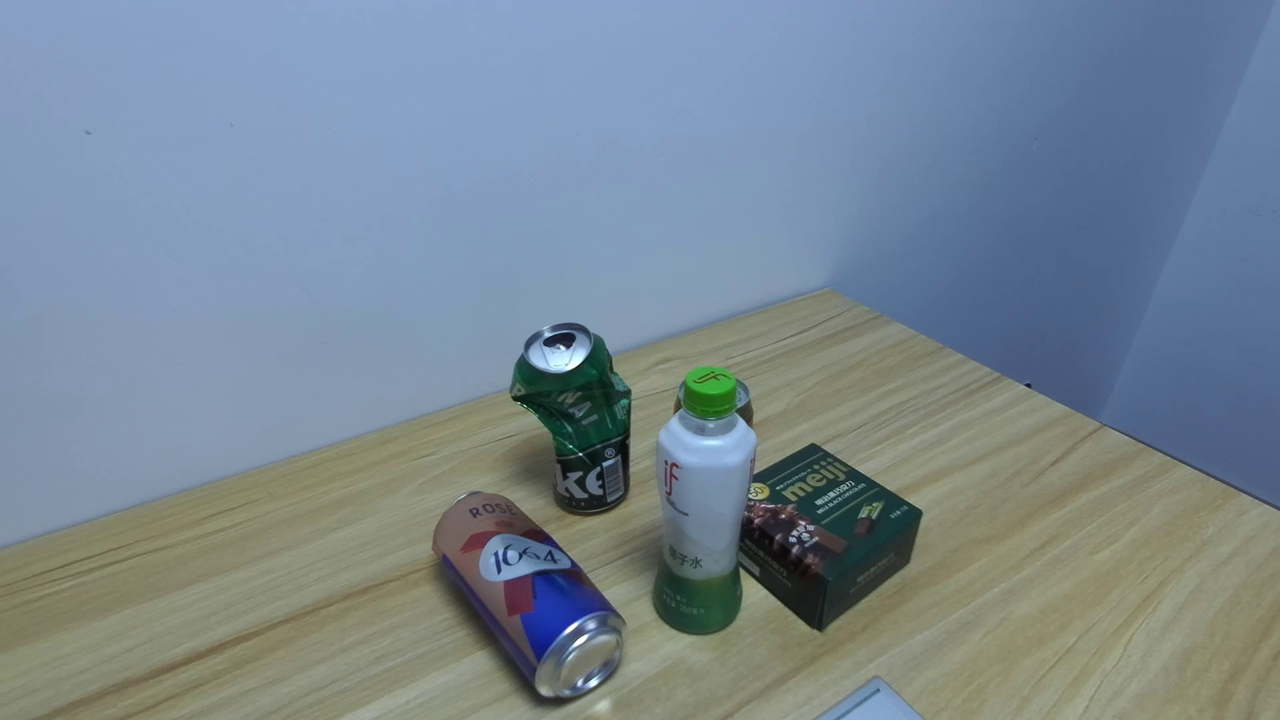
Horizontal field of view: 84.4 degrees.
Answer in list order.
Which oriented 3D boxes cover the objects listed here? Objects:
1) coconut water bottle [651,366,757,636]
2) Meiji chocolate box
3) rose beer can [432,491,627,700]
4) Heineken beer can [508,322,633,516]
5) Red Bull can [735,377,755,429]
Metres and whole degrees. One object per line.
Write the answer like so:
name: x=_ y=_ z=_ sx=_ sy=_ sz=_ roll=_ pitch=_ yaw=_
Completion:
coconut water bottle: x=0.041 y=0.093 z=0.458 sx=0.063 sy=0.189 sz=0.063 roll=0 pitch=31 yaw=0
Meiji chocolate box: x=0.133 y=0.127 z=0.534 sx=0.110 sy=0.056 sz=0.108 roll=-21 pitch=36 yaw=-32
rose beer can: x=-0.079 y=0.151 z=0.482 sx=0.070 sy=0.069 sz=0.167 roll=-39 pitch=43 yaw=-18
Heineken beer can: x=-0.046 y=0.048 z=0.567 sx=0.067 sy=0.159 sz=0.079 roll=14 pitch=40 yaw=30
Red Bull can: x=0.066 y=0.051 z=0.612 sx=0.069 sy=0.092 sz=0.069 roll=-3 pitch=53 yaw=5
